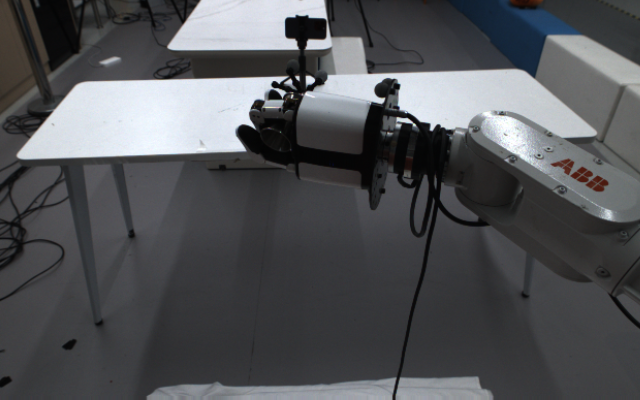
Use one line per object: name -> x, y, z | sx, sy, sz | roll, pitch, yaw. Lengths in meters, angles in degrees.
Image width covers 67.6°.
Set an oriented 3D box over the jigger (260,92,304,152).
jigger -> -0.042, -0.104, 0.621 | 0.043, 0.043, 0.071 | 15, 58, 18
